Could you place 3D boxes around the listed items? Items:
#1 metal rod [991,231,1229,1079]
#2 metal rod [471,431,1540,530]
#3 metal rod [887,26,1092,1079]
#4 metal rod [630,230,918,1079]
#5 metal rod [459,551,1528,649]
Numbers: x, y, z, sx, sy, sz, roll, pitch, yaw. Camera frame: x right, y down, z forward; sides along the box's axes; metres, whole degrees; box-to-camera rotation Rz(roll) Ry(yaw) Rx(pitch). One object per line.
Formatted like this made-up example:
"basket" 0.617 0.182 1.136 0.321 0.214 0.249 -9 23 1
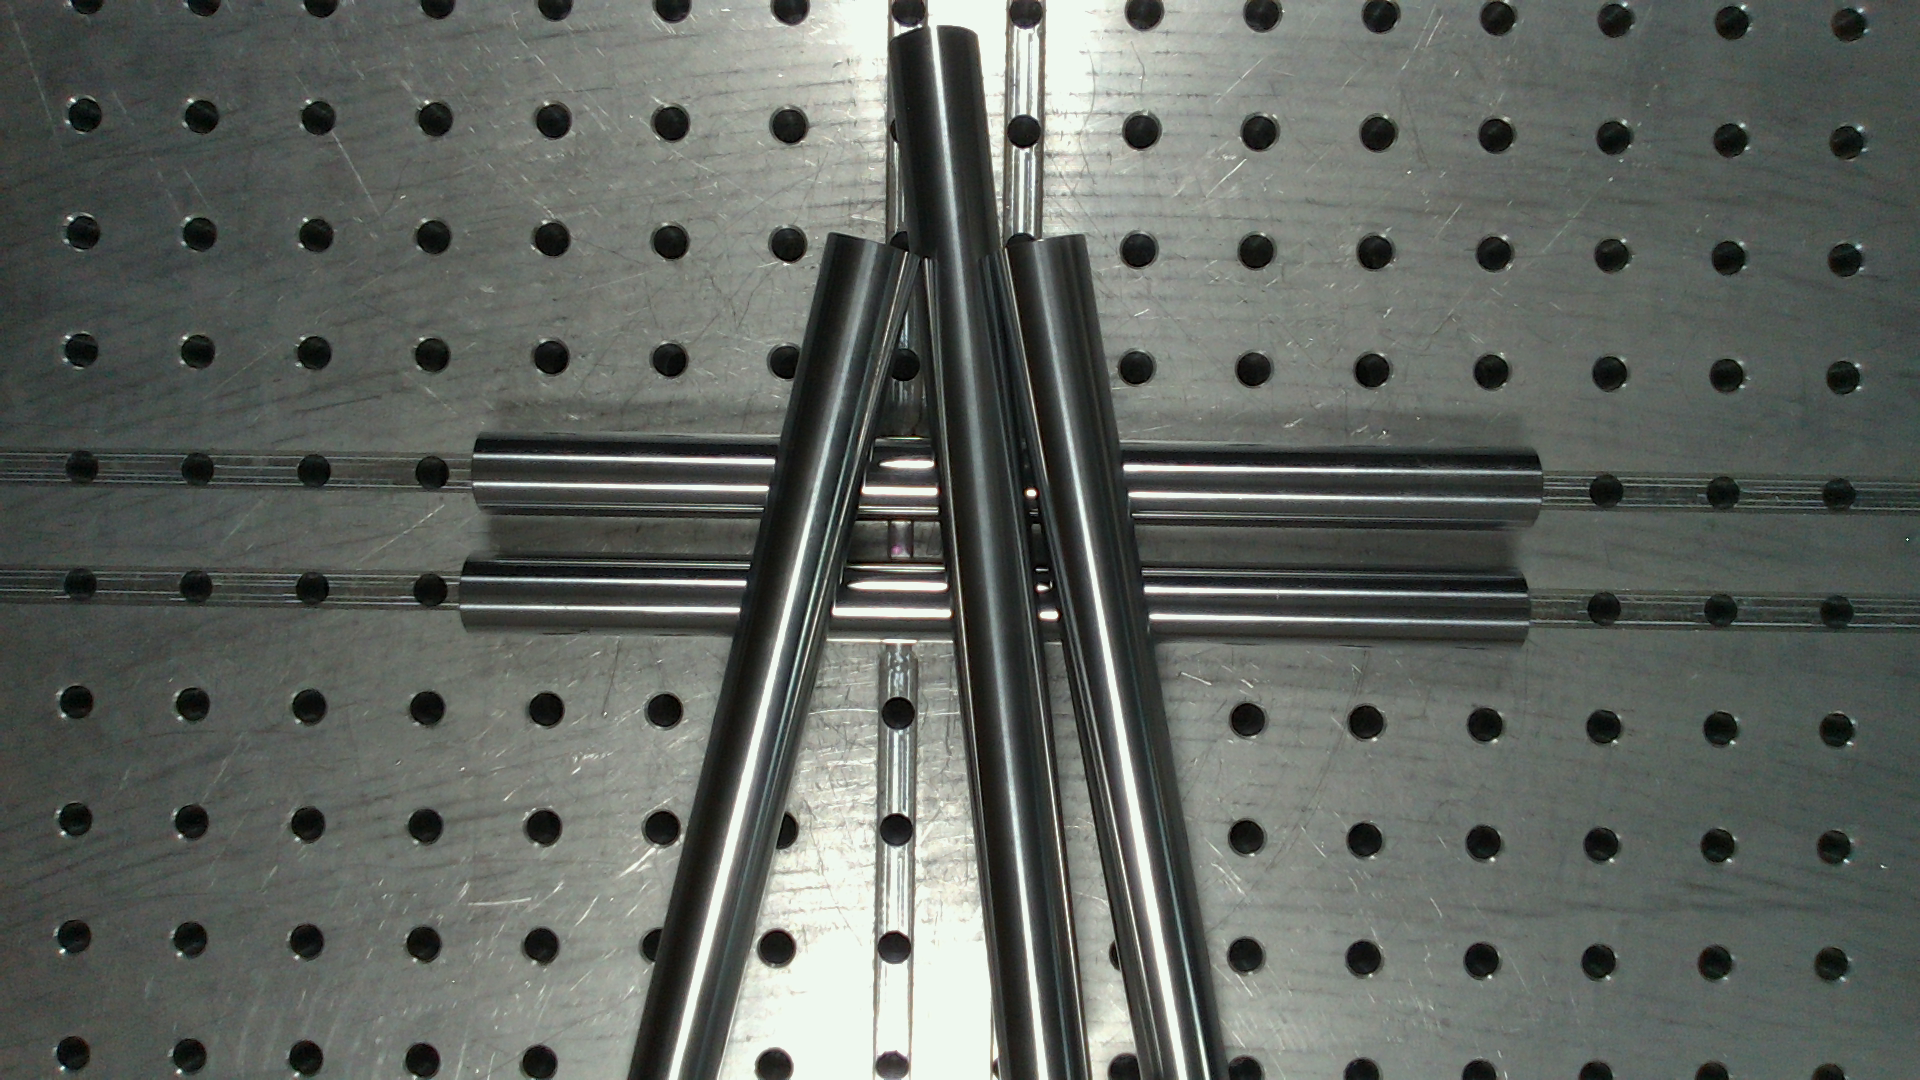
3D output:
"metal rod" 0.048 0.068 0.379 0.025 0.025 0.300 -11 97 0
"metal rod" 0.013 -0.017 0.398 0.300 0.025 0.025 1 90 0
"metal rod" 0.009 0.015 0.373 0.025 0.025 0.300 -6 90 0
"metal rod" -0.059 0.066 0.379 0.025 0.025 0.300 14 97 0
"metal rod" 0.010 0.017 0.398 0.300 0.025 0.025 1 90 0
